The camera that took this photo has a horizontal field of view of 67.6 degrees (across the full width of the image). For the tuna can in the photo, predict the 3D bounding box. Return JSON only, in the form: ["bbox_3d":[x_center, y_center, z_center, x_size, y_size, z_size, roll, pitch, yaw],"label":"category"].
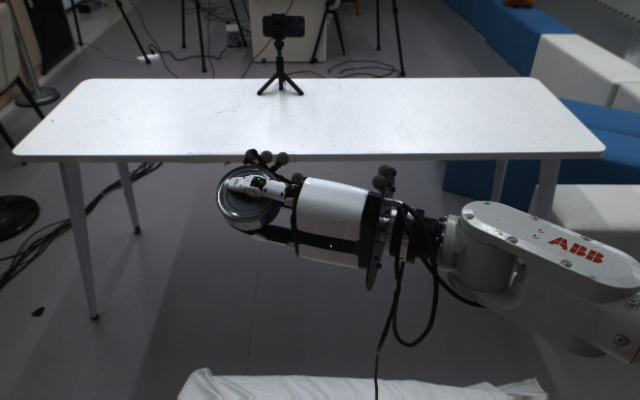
[{"bbox_3d":[-0.095,-0.003,0.655,0.085,0.034,0.085,-2,60,3],"label":"tuna can"}]
